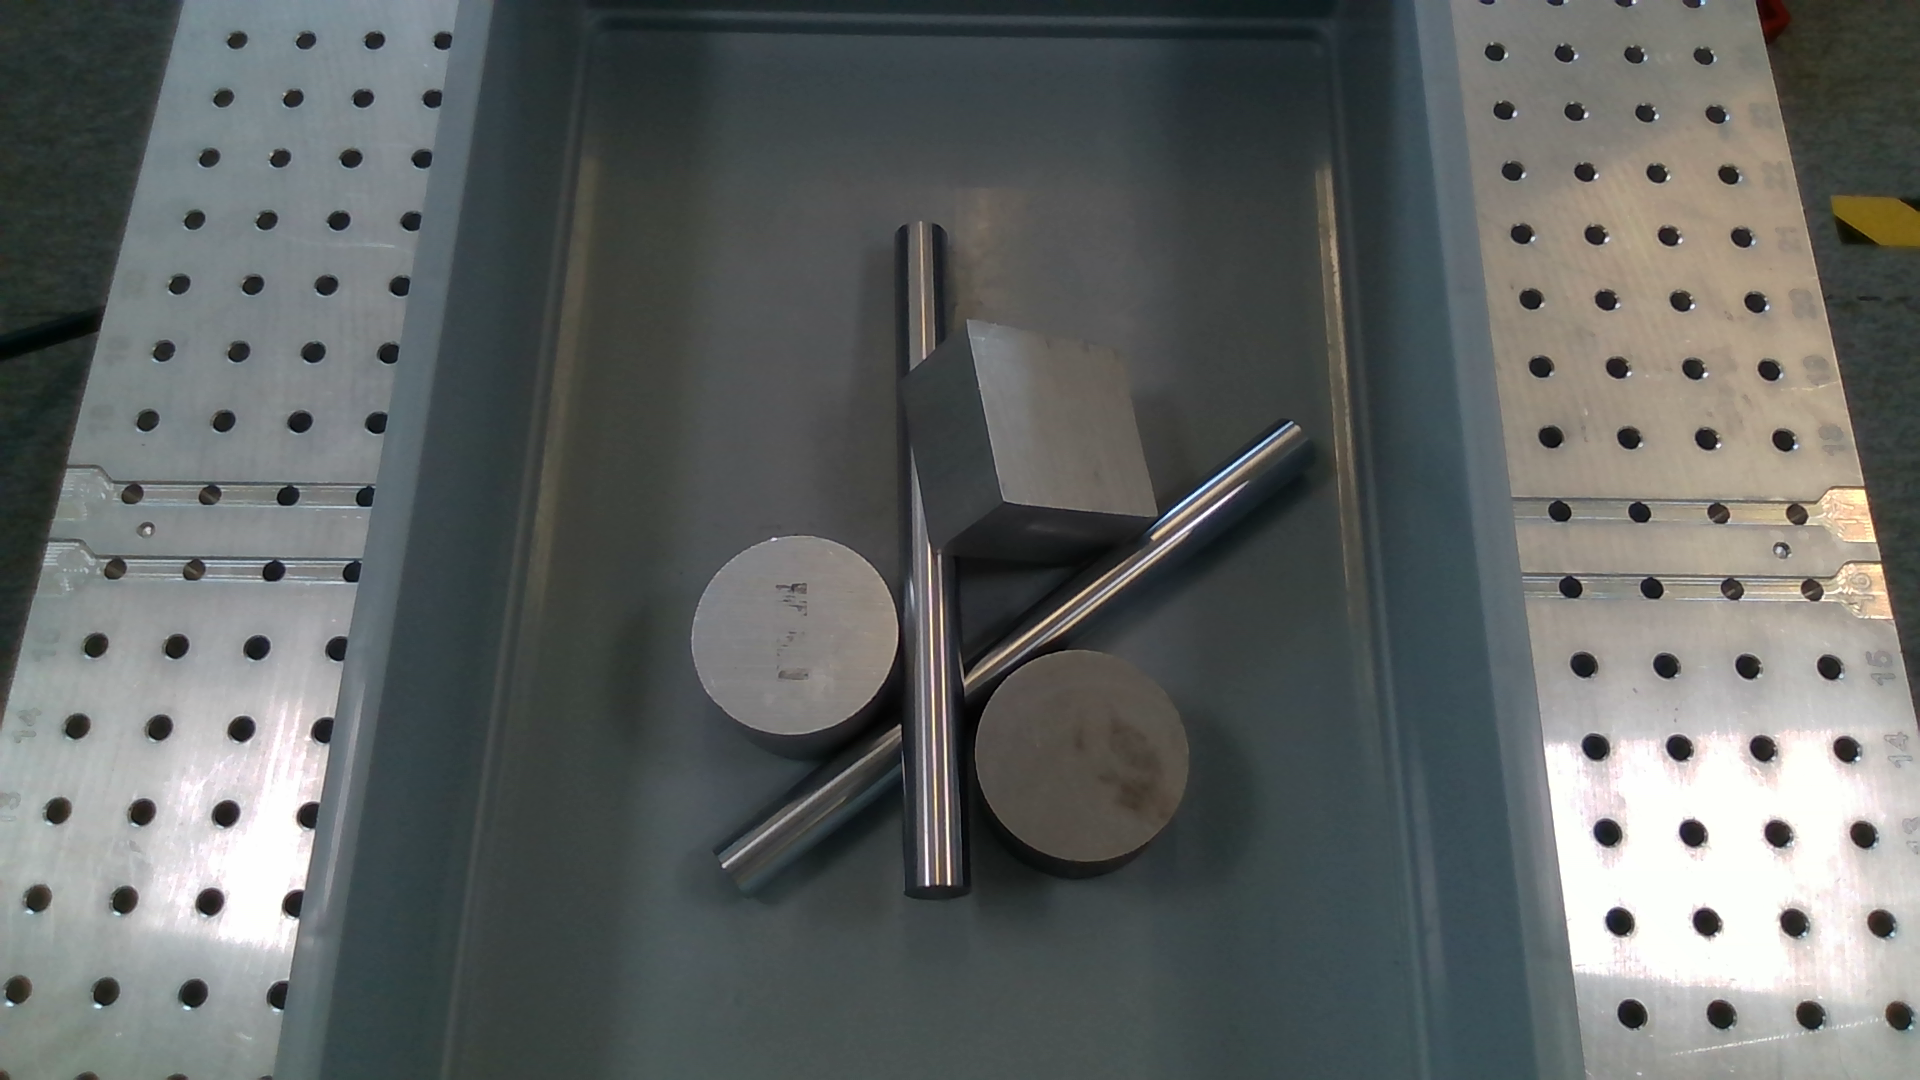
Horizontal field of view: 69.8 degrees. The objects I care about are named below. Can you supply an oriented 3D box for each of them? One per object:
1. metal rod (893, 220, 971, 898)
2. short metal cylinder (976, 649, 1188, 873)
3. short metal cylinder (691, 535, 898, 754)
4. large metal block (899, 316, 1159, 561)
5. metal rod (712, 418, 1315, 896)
[{"bbox_3d":[-0.014,-0.005,0.571,0.025,0.025,0.299,-2,64,-1],"label":"metal rod"},{"bbox_3d":[0.046,0.088,0.543,0.080,0.050,0.080,0,70,0],"label":"short metal cylinder"},{"bbox_3d":[-0.064,0.044,0.558,0.080,0.050,0.080,0,70,0],"label":"short metal cylinder"},{"bbox_3d":[0.028,-0.039,0.569,0.080,0.050,0.080,4,65,-36],"label":"large metal block"},{"bbox_3d":[0.028,0.043,0.572,0.300,0.025,0.025,-36,74,-12],"label":"metal rod"}]
